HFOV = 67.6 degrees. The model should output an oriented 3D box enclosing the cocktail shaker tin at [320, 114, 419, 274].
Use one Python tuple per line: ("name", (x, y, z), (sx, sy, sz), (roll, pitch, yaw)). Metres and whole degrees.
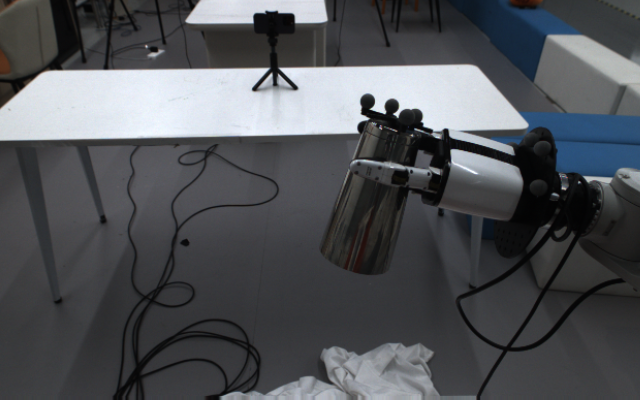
("cocktail shaker tin", (0.067, -0.008, 0.589), (0.093, 0.170, 0.093), (14, 18, -5))
